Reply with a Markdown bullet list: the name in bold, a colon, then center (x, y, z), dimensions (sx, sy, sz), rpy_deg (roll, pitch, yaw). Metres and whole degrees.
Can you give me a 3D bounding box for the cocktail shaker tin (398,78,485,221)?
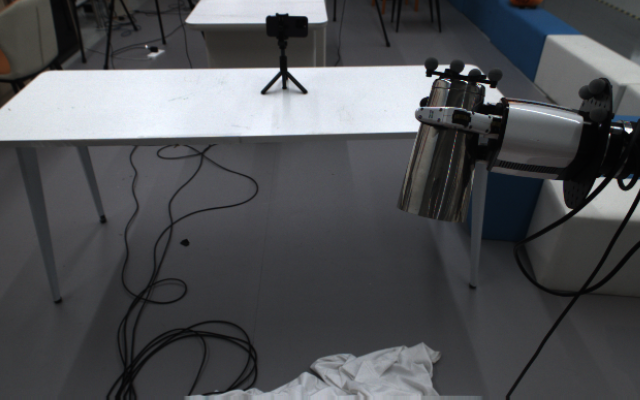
- **cocktail shaker tin**: center (0.165, -0.068, 0.629), dimensions (0.093, 0.170, 0.093), rpy_deg (10, 9, -2)
